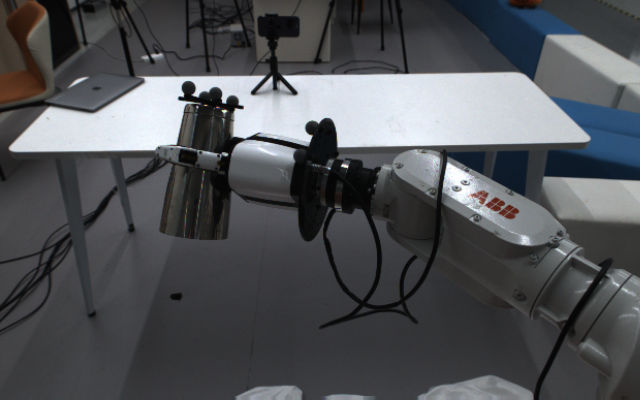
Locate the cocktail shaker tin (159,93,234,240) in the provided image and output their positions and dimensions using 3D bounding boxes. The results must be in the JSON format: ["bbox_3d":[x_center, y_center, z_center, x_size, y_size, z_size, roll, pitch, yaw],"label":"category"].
[{"bbox_3d":[-0.159,-0.038,0.652,0.093,0.170,0.093,8,3,0],"label":"cocktail shaker tin"}]
